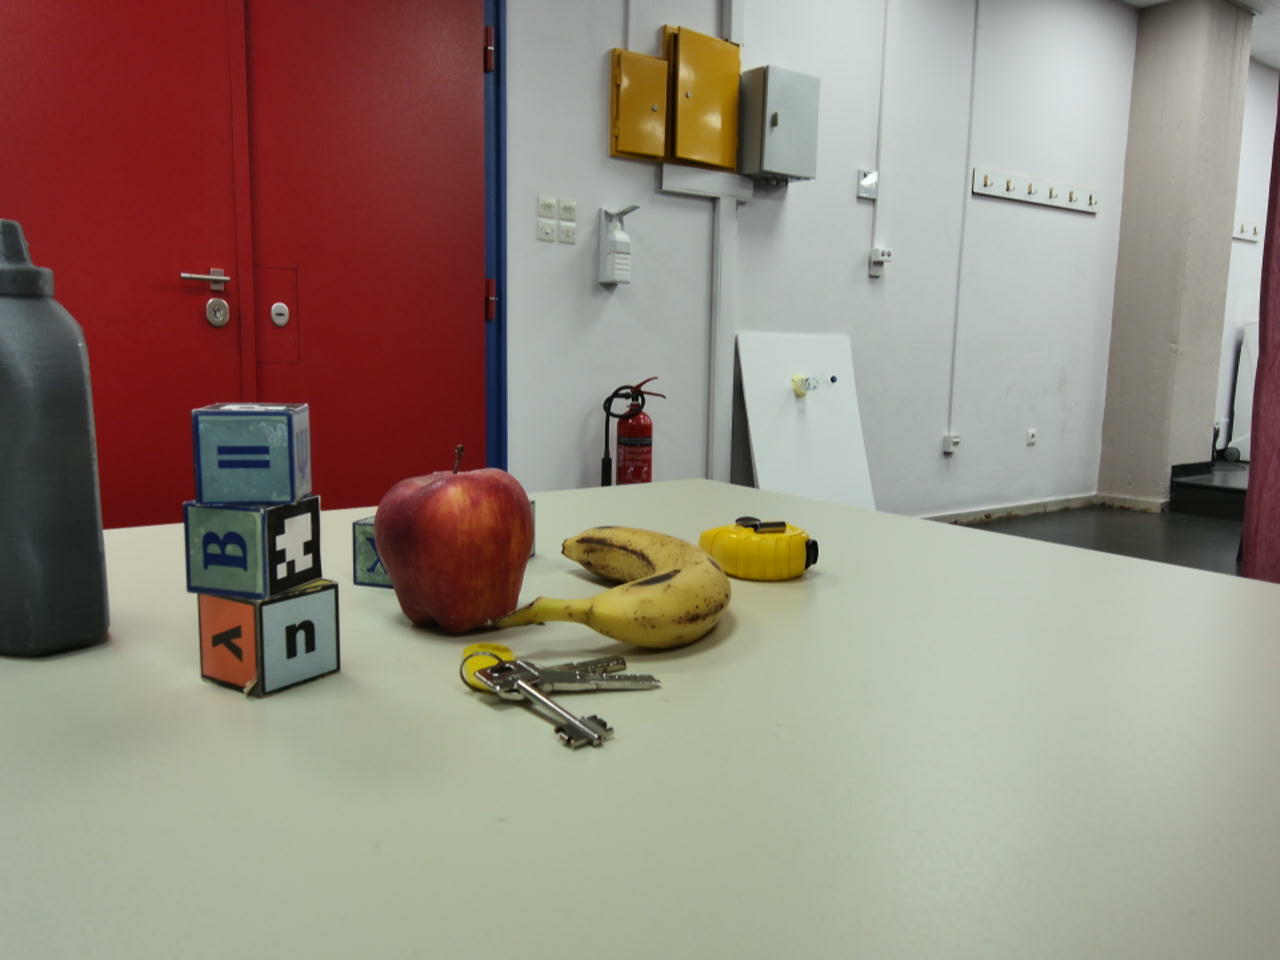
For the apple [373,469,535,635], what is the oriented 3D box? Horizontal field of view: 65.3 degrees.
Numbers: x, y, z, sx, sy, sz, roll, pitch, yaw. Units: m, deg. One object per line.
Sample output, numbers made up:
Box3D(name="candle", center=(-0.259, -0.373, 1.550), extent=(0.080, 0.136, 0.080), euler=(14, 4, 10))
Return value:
Box3D(name="apple", center=(-0.093, 0.029, 0.506), extent=(0.083, 0.090, 0.083), euler=(2, 6, 0))
